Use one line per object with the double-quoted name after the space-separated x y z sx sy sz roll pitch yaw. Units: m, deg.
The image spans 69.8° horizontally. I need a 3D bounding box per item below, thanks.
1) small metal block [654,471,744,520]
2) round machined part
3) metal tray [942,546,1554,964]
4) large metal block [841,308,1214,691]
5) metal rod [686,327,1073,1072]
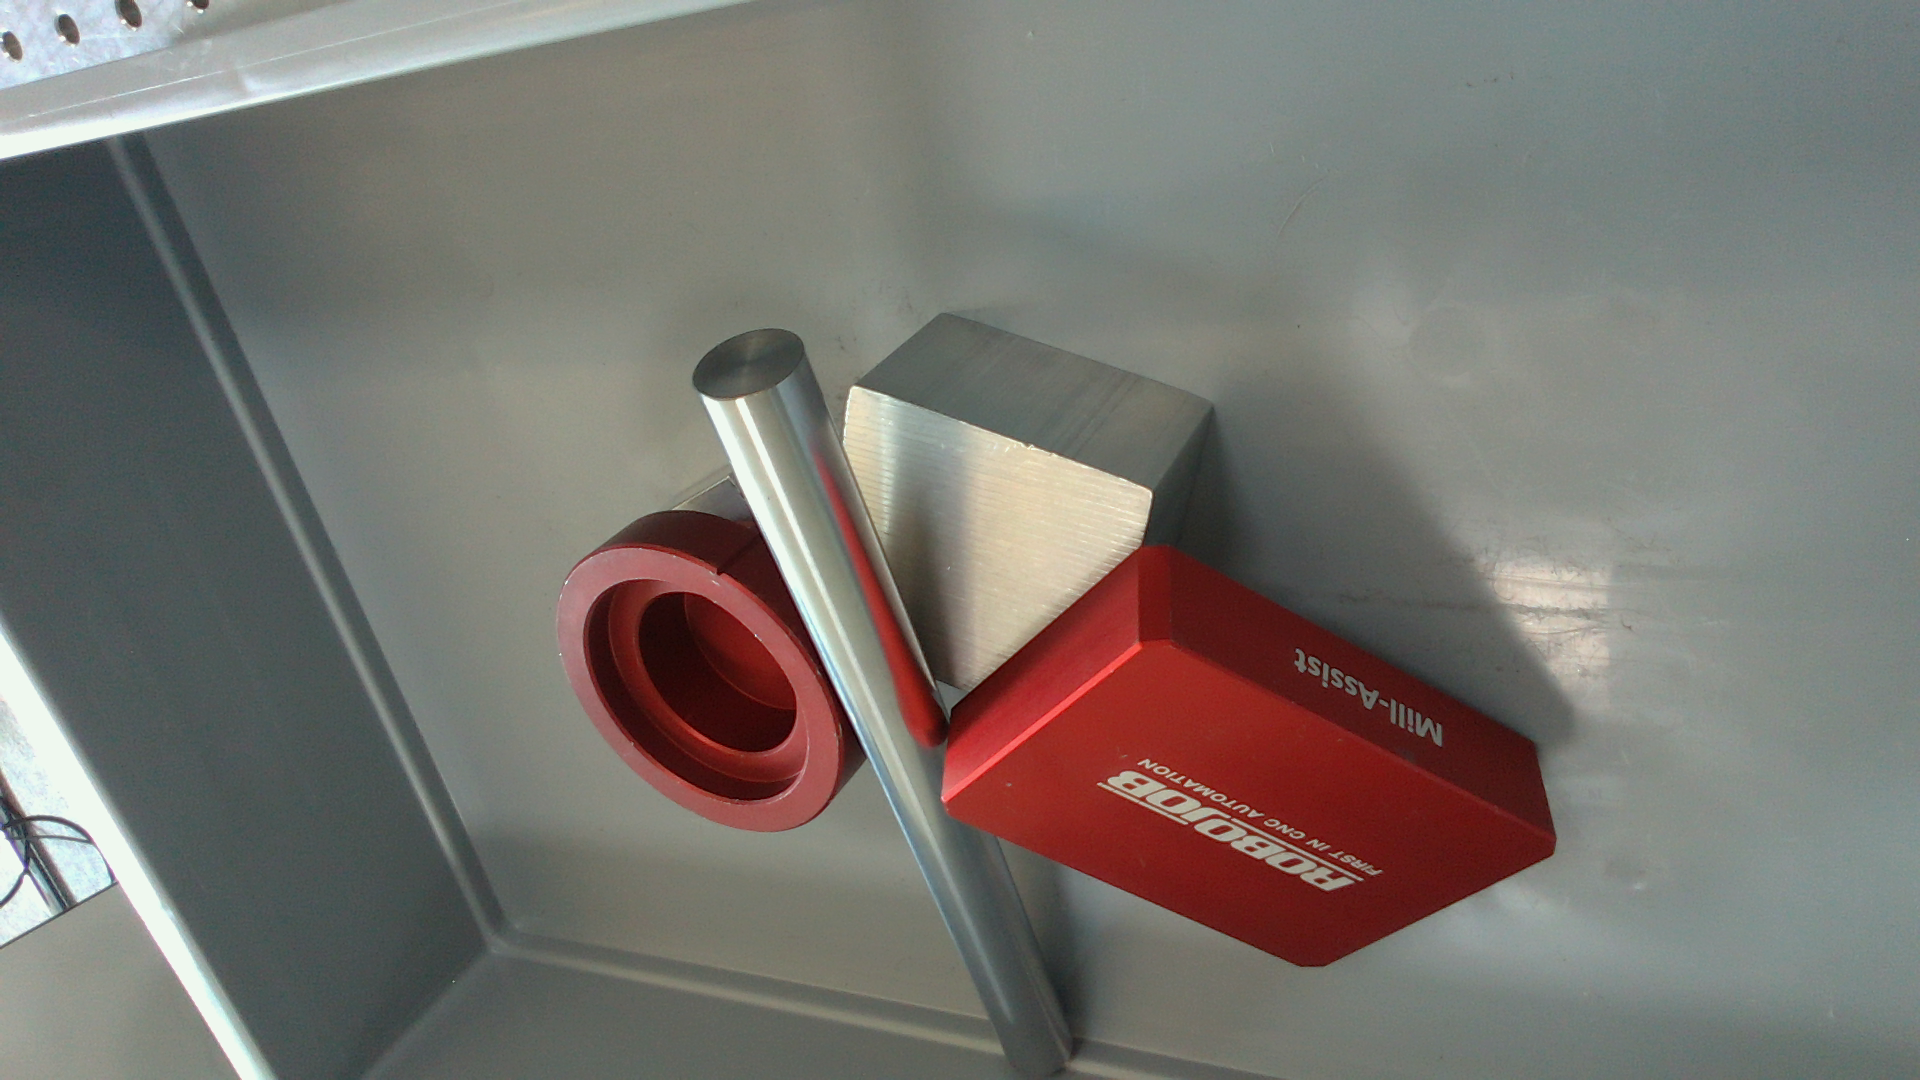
-0.067 0.003 0.431 0.050 0.025 0.050 -25 105 37 "small metal block"
-0.066 0.034 0.402 0.098 0.042 0.098 16 126 23 "round machined part"
0.073 0.061 0.355 0.130 0.030 0.090 27 133 -21 "metal tray"
0.013 -0.005 0.366 0.080 0.050 0.080 21 126 16 "large metal block"
-0.009 0.069 0.388 0.025 0.025 0.300 6 137 25 "metal rod"
